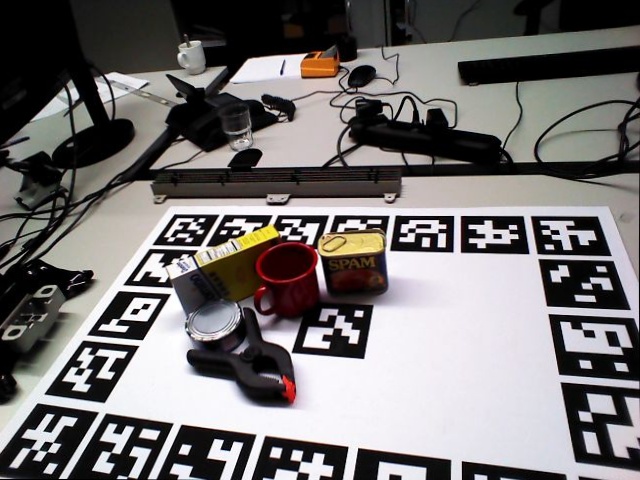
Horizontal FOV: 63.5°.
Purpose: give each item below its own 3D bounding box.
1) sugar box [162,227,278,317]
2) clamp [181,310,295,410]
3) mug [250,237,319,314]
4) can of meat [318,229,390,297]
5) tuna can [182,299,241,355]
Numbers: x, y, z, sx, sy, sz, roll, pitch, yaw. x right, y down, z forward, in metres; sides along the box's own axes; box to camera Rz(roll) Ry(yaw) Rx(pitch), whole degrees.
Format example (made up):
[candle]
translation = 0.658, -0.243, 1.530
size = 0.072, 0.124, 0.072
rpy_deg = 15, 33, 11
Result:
[sugar box]
translation = -0.141, 0.054, 0.793
size = 0.176, 0.093, 0.045
rpy_deg = -23, 37, -16
[clamp]
translation = -0.092, 0.166, 0.684
size = 0.121, 0.037, 0.165
rpy_deg = -33, 46, -31
[mug]
translation = -0.055, 0.061, 0.755
size = 0.094, 0.081, 0.116
rpy_deg = 19, 49, 33
[can of meat]
translation = 0.054, 0.035, 0.771
size = 0.102, 0.084, 0.057
rpy_deg = -4, 37, 7
[tuna can]
translation = -0.157, 0.127, 0.743
size = 0.086, 0.034, 0.085
rpy_deg = -8, 40, 6
